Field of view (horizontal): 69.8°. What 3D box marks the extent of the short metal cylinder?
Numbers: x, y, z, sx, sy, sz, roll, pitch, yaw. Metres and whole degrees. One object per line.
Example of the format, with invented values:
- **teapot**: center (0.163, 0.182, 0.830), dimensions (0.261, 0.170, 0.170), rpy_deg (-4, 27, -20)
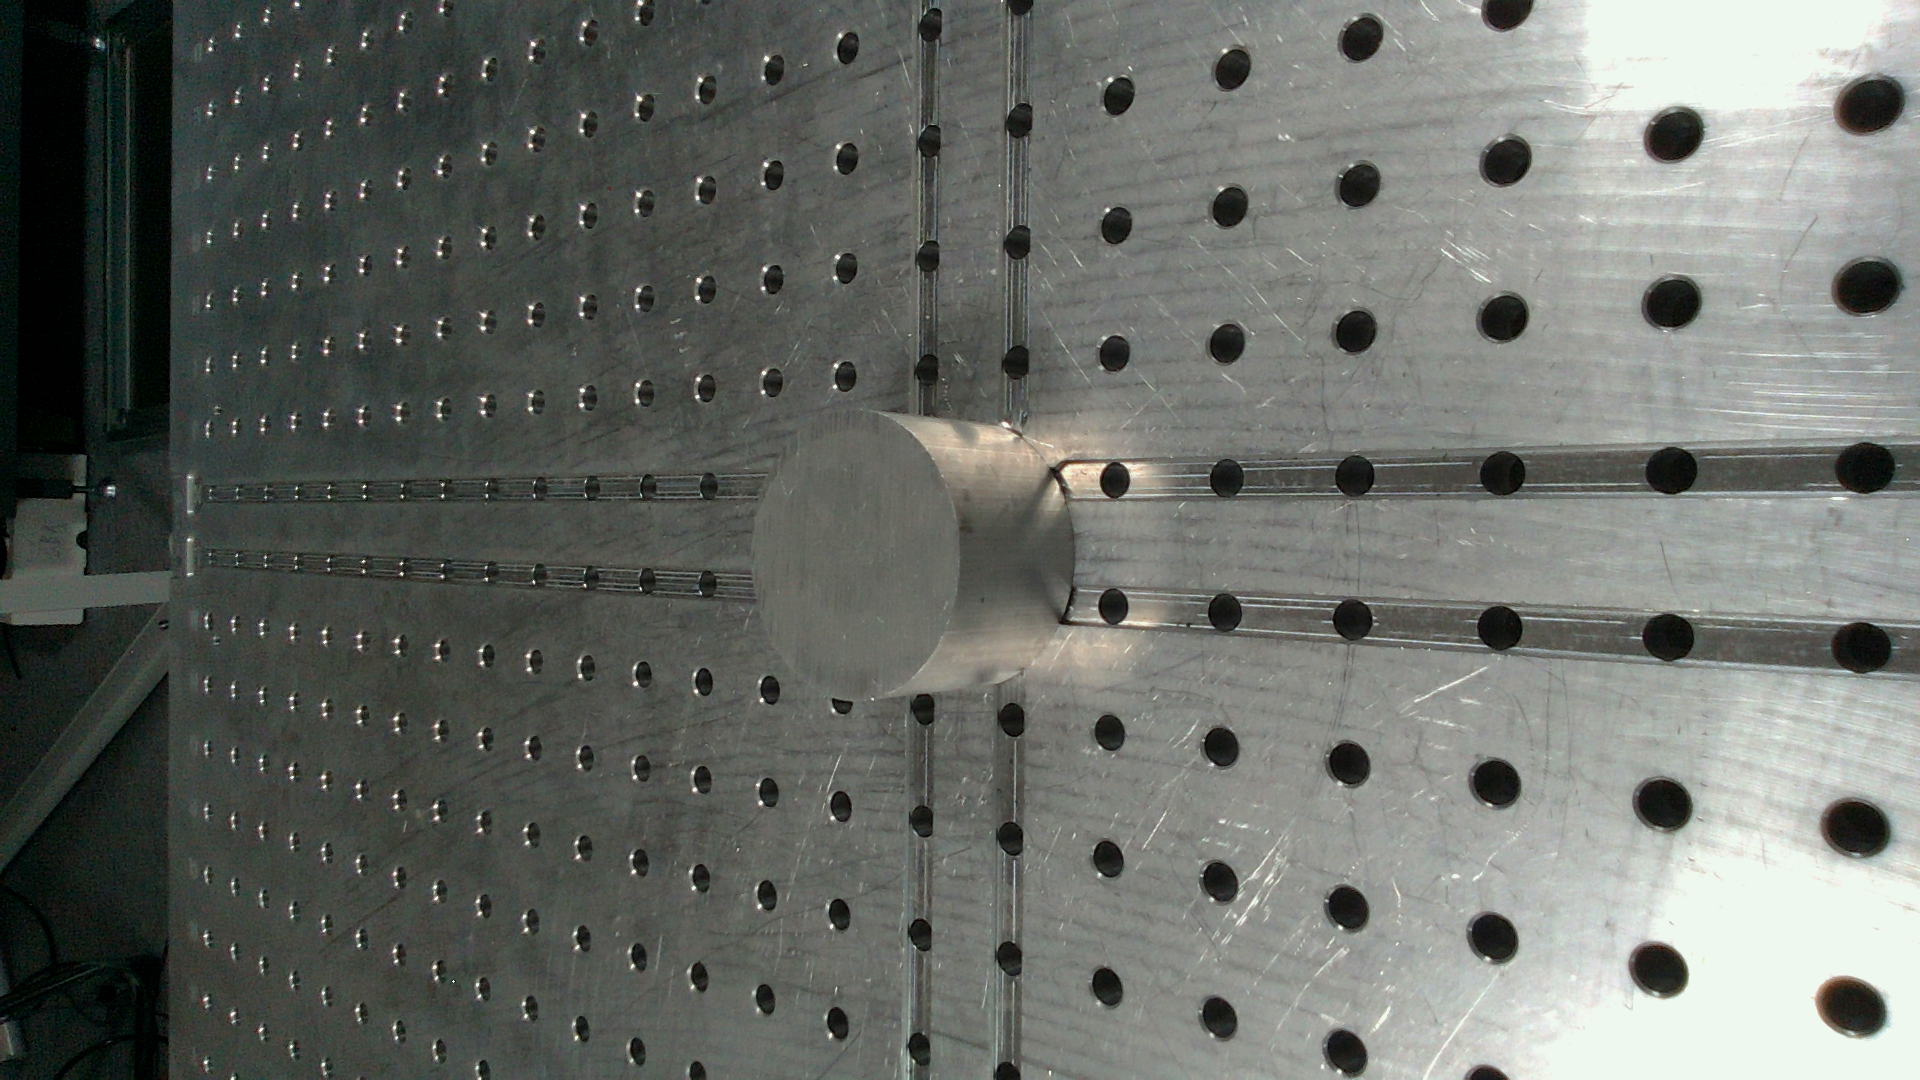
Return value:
- **short metal cylinder**: center (-0.015, 0.004, 0.393), dimensions (0.080, 0.050, 0.080), rpy_deg (0, 90, 40)
